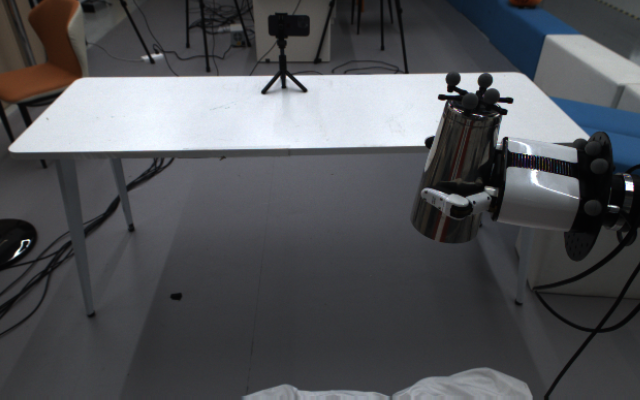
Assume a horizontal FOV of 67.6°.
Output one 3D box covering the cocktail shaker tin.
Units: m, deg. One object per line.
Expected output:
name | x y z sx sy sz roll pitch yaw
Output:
cocktail shaker tin | 0.177 -0.042 0.613 0.093 0.170 0.093 3 34 -2
